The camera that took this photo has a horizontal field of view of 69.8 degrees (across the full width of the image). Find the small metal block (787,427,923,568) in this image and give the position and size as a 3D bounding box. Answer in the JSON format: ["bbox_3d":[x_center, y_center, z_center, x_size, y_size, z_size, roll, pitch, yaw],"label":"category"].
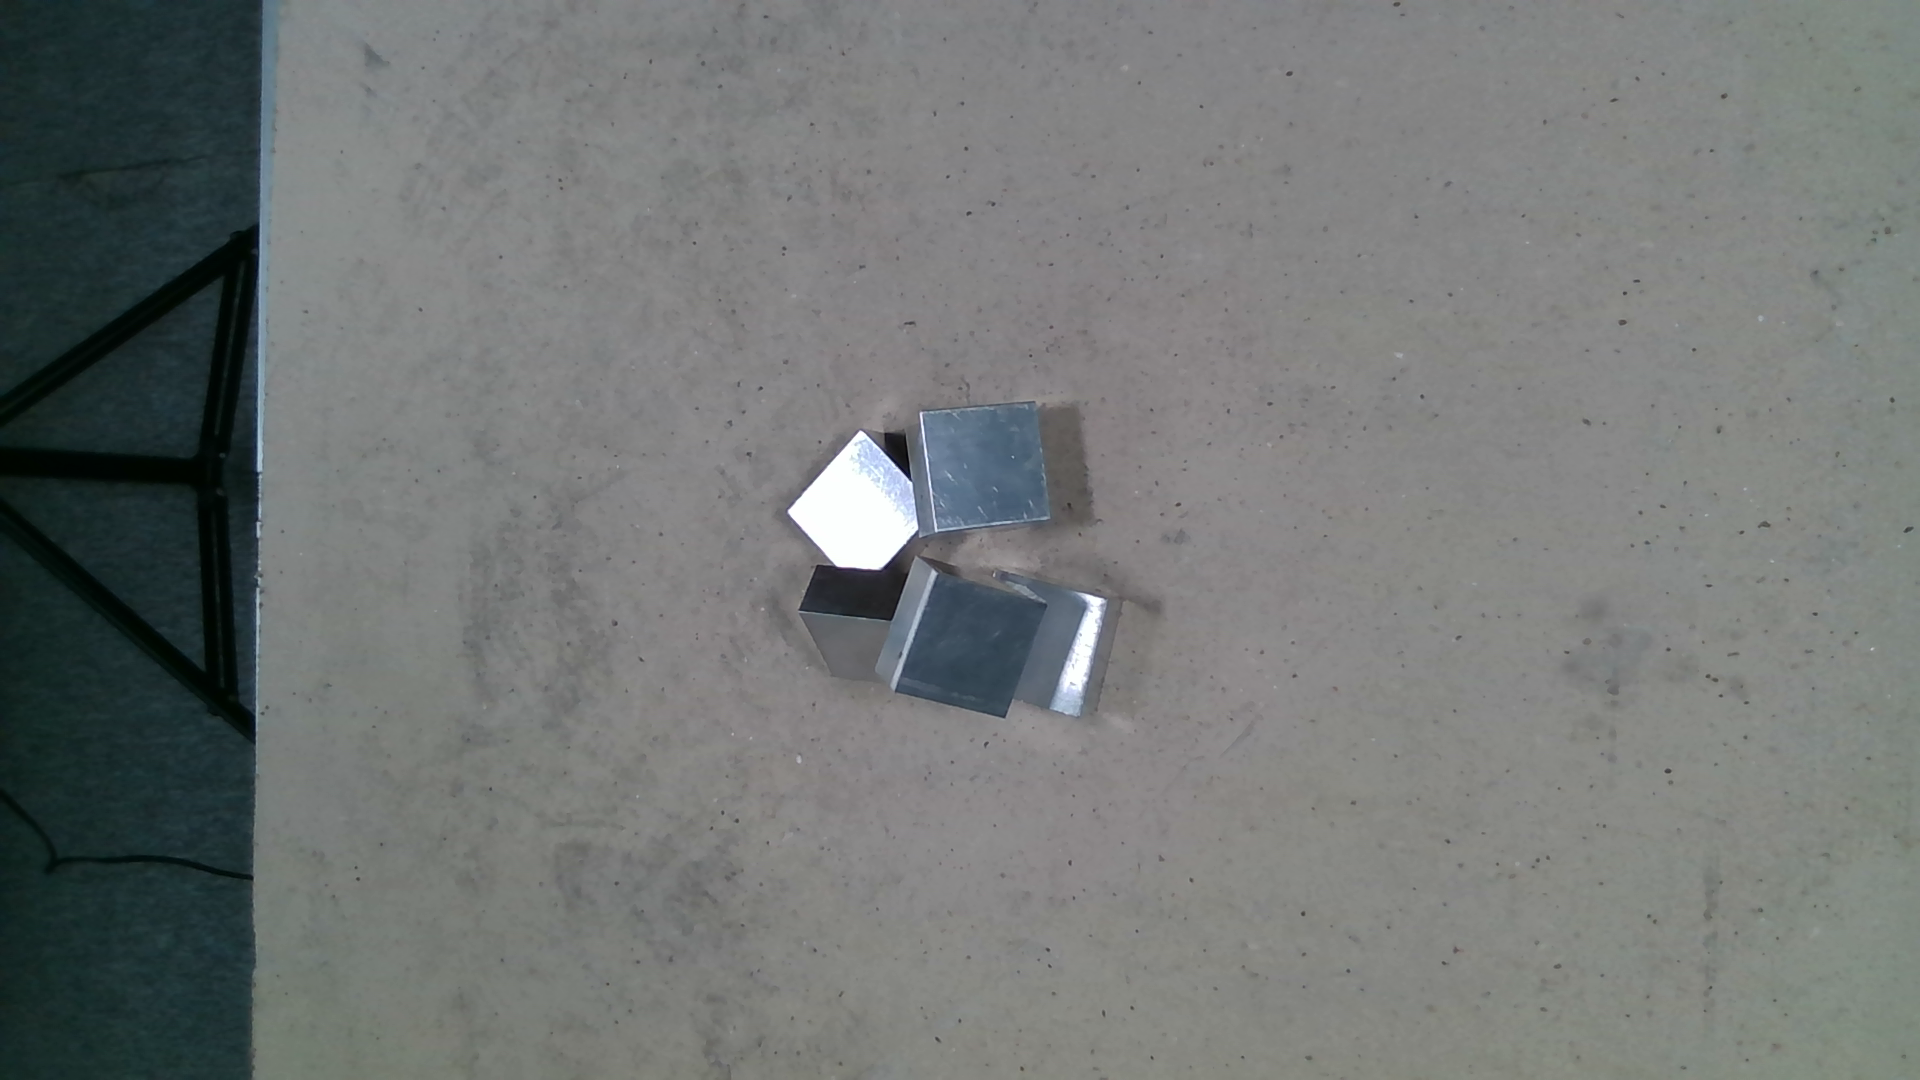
[{"bbox_3d":[-0.038,-0.013,0.600,0.050,0.025,0.050,47,105,14],"label":"small metal block"}]

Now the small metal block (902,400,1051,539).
[{"bbox_3d":[0.007,-0.029,0.570,0.050,0.025,0.050,-7,88,-18],"label":"small metal block"}]

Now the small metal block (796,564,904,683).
[{"bbox_3d":[-0.035,0.037,0.583,0.050,0.050,0.025,5,54,20],"label":"small metal block"}]

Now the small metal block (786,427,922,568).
[{"bbox_3d":[-0.038,-0.013,0.600,0.050,0.025,0.050,47,105,14],"label":"small metal block"}]

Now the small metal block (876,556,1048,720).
[{"bbox_3d":[0.000,0.039,0.545,0.050,0.025,0.050,16,99,-24],"label":"small metal block"}]

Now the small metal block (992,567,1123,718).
[{"bbox_3d":[0.035,0.042,0.573,0.050,0.025,0.050,15,95,20],"label":"small metal block"}]
